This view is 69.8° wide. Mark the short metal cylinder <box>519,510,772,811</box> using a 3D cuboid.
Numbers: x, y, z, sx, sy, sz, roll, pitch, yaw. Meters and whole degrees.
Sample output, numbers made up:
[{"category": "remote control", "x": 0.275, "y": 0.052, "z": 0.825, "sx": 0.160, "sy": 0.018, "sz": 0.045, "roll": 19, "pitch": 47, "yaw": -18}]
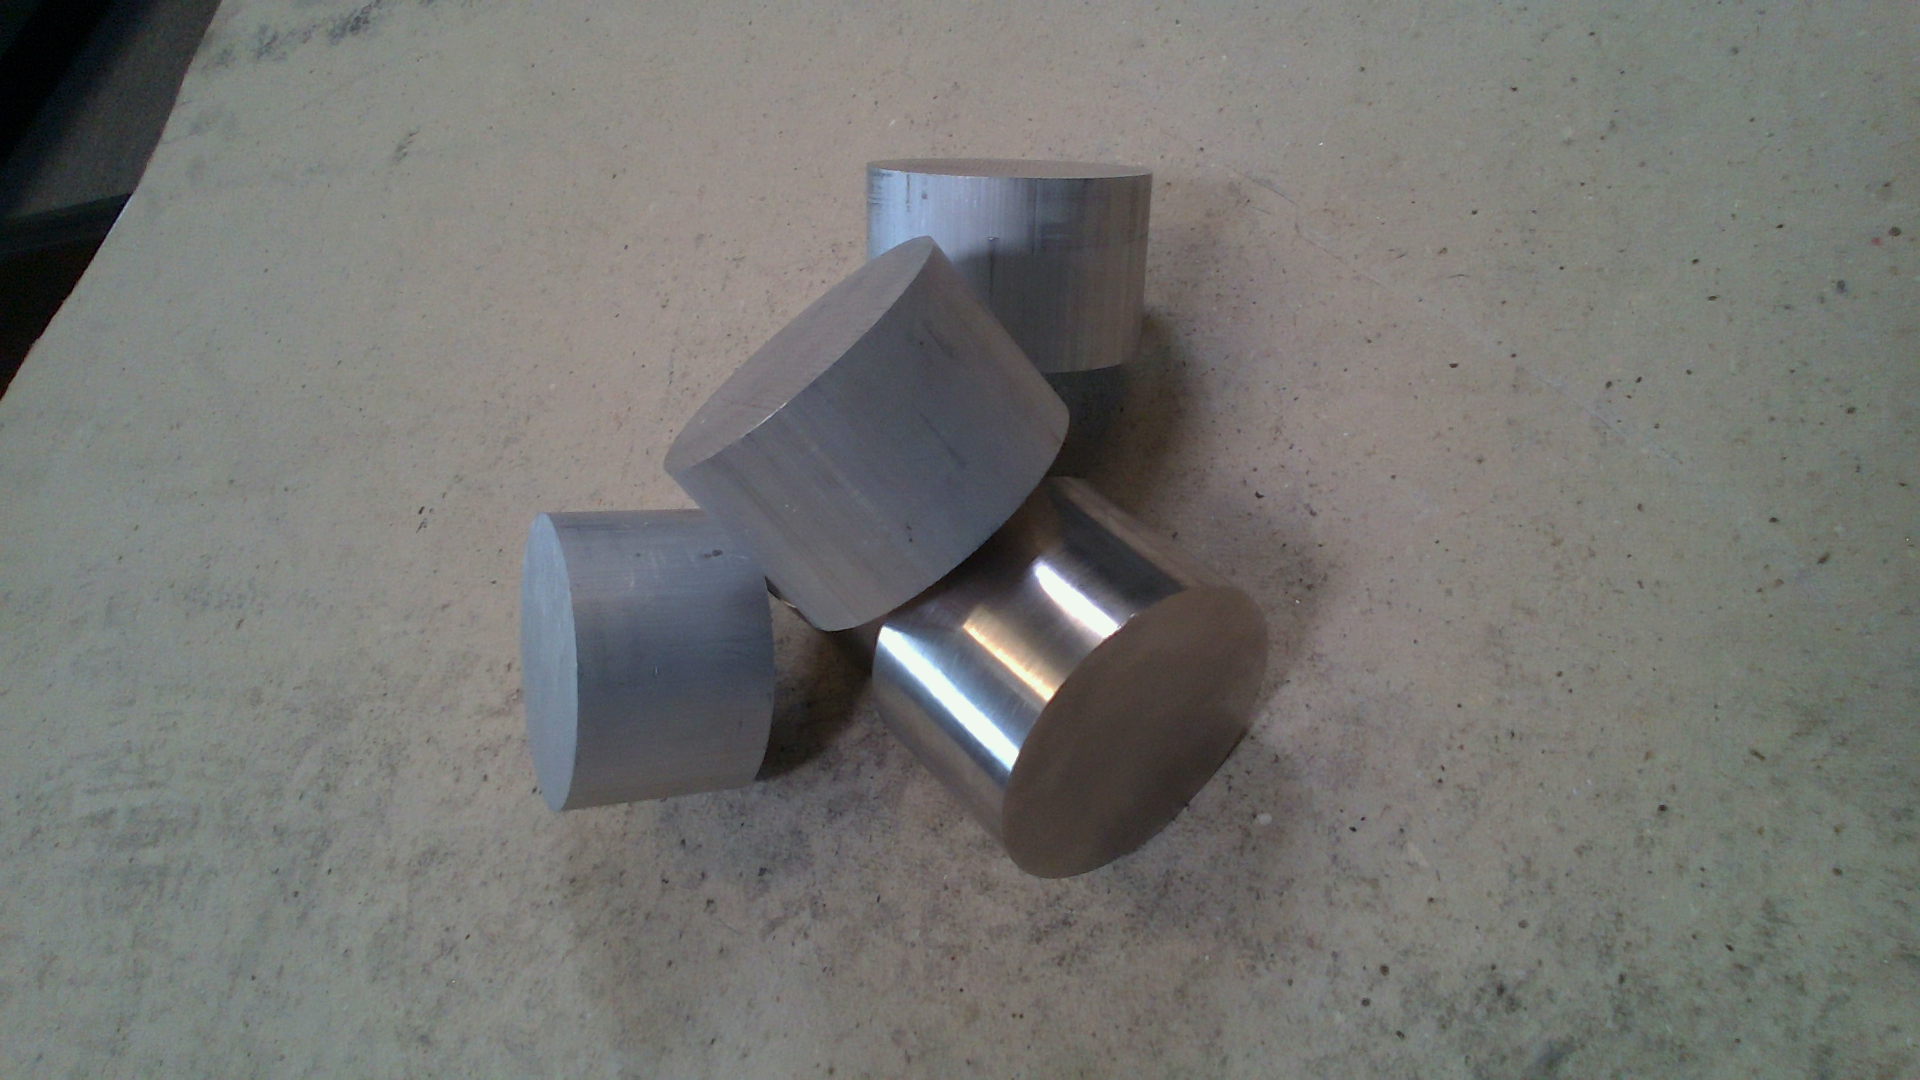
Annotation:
[{"category": "short metal cylinder", "x": -0.089, "y": 0.032, "z": 0.380, "sx": 0.080, "sy": 0.050, "sz": 0.080, "roll": 6, "pitch": 97, "yaw": 63}]

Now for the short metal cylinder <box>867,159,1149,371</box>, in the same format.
[{"category": "short metal cylinder", "x": 0.013, "y": -0.081, "z": 0.393, "sx": 0.080, "sy": 0.080, "sz": 0.050, "roll": 14, "pitch": 112, "yaw": 34}]

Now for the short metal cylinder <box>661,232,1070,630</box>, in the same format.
[{"category": "short metal cylinder", "x": -0.022, "y": -0.025, "z": 0.319, "sx": 0.080, "sy": 0.050, "sz": 0.080, "roll": -35, "pitch": 20, "yaw": 16}]

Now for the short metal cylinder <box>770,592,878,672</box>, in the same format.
[{"category": "short metal cylinder", "x": -0.015, "y": -0.005, "z": 0.388, "sx": 0.080, "sy": 0.050, "sz": 0.080, "roll": -13, "pitch": 55, "yaw": 20}]

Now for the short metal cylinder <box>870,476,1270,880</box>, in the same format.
[{"category": "short metal cylinder", "x": 0.026, "y": 0.032, "z": 0.324, "sx": 0.080, "sy": 0.080, "sz": 0.050, "roll": -47, "pitch": 51, "yaw": -4}]
